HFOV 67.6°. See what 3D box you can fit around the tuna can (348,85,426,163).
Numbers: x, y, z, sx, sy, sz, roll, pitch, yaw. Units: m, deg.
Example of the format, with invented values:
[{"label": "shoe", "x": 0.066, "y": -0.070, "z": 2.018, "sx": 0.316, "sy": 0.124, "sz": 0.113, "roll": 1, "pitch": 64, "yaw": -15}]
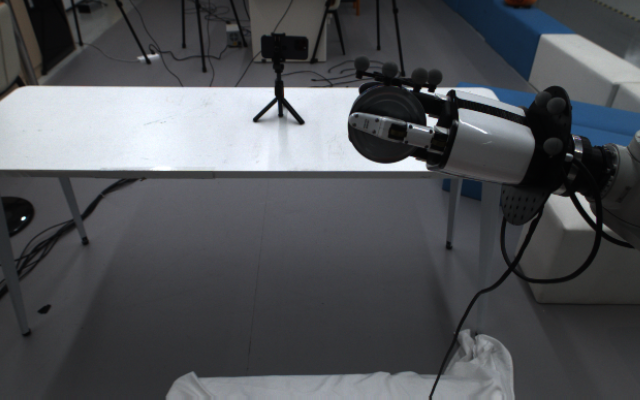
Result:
[{"label": "tuna can", "x": 0.076, "y": -0.089, "z": 0.545, "sx": 0.085, "sy": 0.085, "sz": 0.034, "roll": 5, "pitch": 19, "yaw": 4}]
